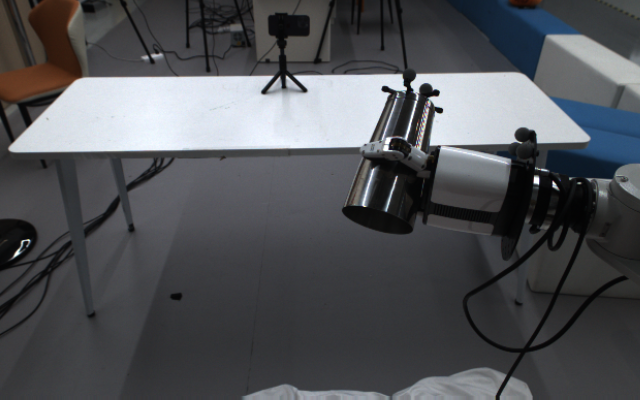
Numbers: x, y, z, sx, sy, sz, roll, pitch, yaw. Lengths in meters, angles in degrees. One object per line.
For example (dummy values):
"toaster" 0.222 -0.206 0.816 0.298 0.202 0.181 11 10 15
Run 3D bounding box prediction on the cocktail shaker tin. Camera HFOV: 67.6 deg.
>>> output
"cocktail shaker tin" 0.098 -0.051 0.626 0.093 0.093 0.170 14 73 16
